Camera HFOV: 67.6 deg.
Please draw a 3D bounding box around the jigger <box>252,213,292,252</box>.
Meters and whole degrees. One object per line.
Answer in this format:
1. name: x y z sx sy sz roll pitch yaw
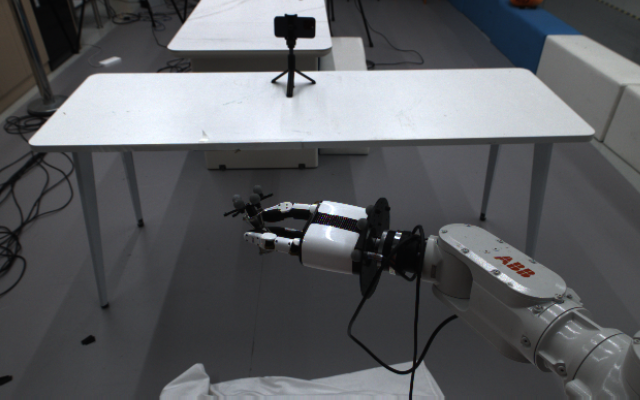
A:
1. jigger: -0.095 0.051 0.814 0.043 0.071 0.043 -24 14 7
